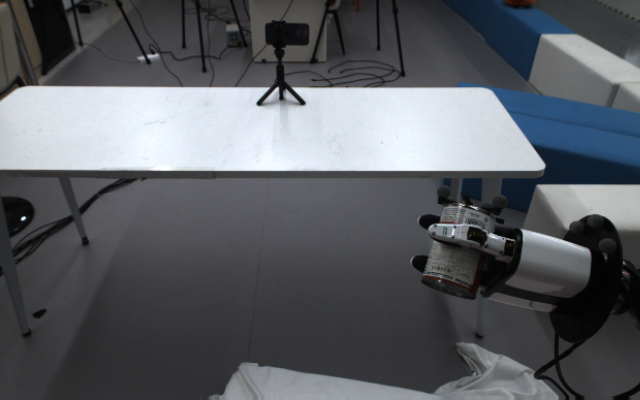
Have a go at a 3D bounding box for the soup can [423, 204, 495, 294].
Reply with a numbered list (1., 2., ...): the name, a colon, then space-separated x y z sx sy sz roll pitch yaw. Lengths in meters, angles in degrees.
1. soup can: 0.172 0.061 0.599 0.067 0.067 0.101 16 76 19
